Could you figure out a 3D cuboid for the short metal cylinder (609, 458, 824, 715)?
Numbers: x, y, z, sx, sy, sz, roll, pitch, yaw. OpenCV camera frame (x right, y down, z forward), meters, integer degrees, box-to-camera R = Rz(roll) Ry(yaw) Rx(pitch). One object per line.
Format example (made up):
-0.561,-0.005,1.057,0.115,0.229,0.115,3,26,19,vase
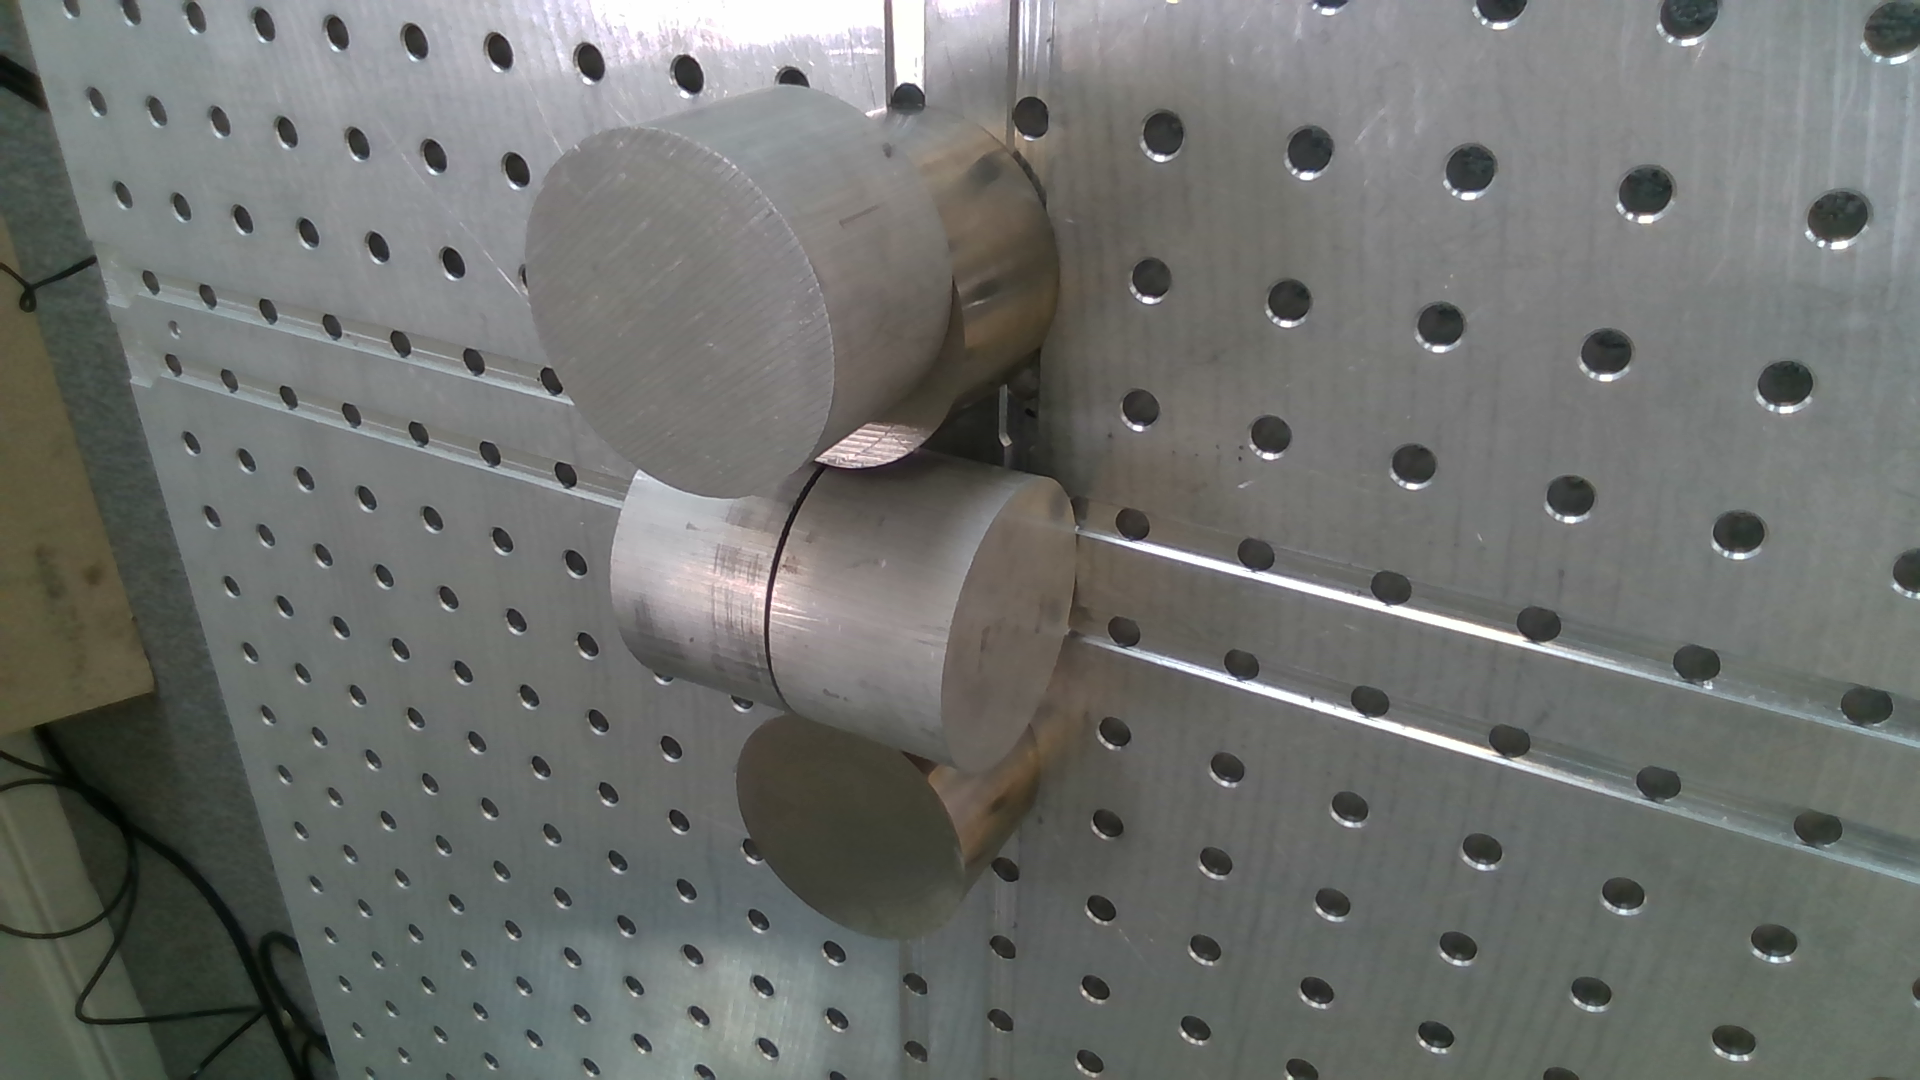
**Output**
-0.053,0.005,0.392,0.050,0.080,0.080,13,121,25,short metal cylinder

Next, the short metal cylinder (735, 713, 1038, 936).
-0.022,0.075,0.430,0.080,0.050,0.080,15,122,25,short metal cylinder

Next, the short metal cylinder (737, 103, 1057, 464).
-0.022,-0.066,0.353,0.080,0.050,0.080,15,122,25,short metal cylinder

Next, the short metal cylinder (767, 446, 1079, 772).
-0.008,0.016,0.370,0.050,0.080,0.080,16,122,25,short metal cylinder

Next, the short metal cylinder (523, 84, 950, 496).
-0.049,-0.056,0.308,0.080,0.050,0.080,15,122,25,short metal cylinder
